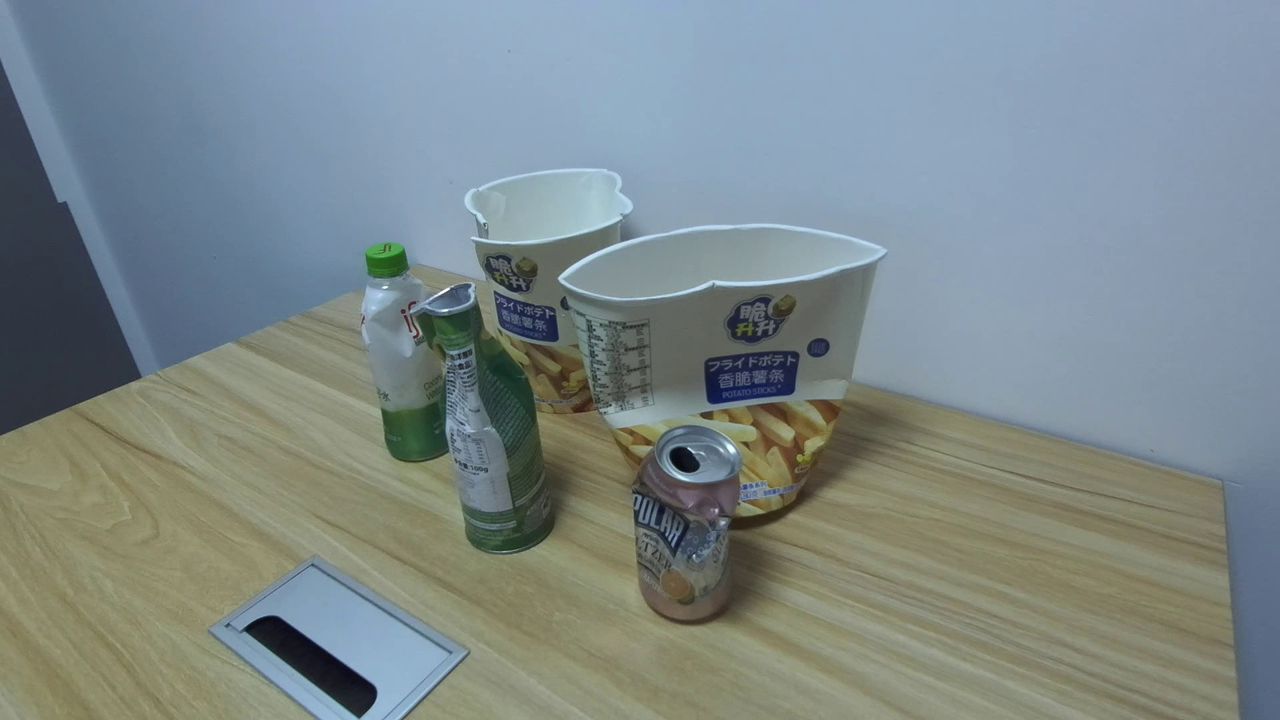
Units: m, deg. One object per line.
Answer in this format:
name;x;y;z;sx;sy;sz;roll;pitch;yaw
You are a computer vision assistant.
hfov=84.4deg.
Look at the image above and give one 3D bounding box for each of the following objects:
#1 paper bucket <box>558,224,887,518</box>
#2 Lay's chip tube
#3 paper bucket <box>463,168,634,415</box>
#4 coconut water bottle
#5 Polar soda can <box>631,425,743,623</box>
paper bucket;0.068;0.007;0.549;0.219;0.199;0.147;-27;39;-36
Lay's chip tube;-0.114;0.042;0.510;0.071;0.199;0.079;3;27;24
paper bucket;-0.074;-0.068;0.693;0.146;0.197;0.202;-10;31;-10
coconut water bottle;-0.200;-0.006;0.603;0.067;0.187;0.067;-1;28;1
Polar soda can;0.035;0.108;0.461;0.067;0.122;0.070;-13;33;-28
